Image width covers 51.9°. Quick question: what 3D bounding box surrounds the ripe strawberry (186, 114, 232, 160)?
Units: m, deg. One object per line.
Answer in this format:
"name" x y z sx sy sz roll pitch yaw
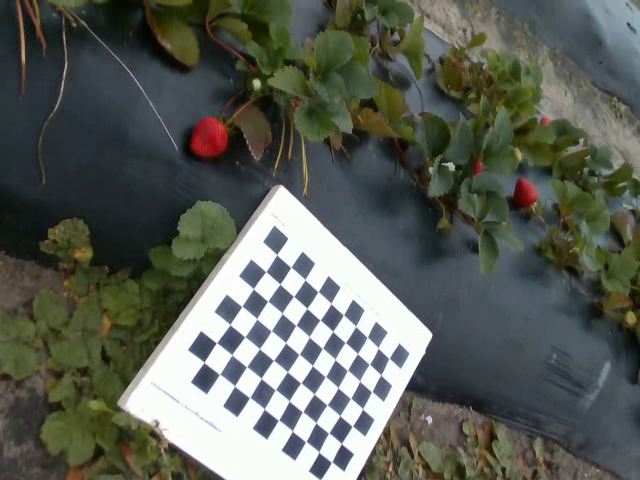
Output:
"ripe strawberry" -0.075 -0.068 0.437 0.033 0.029 0.022 -42 17 -28
